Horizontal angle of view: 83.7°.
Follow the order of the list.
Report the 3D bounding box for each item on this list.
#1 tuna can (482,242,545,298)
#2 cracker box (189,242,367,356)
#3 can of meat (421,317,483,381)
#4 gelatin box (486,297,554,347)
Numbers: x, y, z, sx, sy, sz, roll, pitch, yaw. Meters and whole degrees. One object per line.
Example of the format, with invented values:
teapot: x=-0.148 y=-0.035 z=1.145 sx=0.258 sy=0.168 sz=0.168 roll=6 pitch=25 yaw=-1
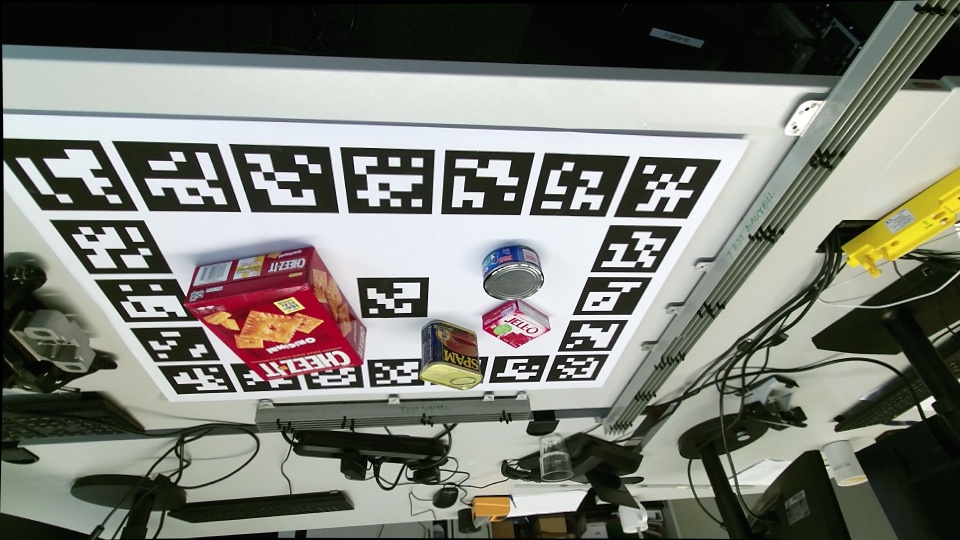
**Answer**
tuna can: x=0.047 y=0.000 z=0.764 sx=0.086 sy=0.033 sz=0.086 roll=-4 pitch=138 yaw=-4
cracker box: x=-0.280 y=0.062 z=0.780 sx=0.165 sy=0.071 sz=0.214 roll=-10 pitch=142 yaw=6
can of meat: x=-0.049 y=0.132 z=0.890 sx=0.102 sy=0.083 sz=0.058 roll=21 pitch=134 yaw=-31
gelatin box: x=0.066 y=0.088 z=0.881 sx=0.073 sy=0.030 sz=0.090 roll=-31 pitch=132 yaw=31
